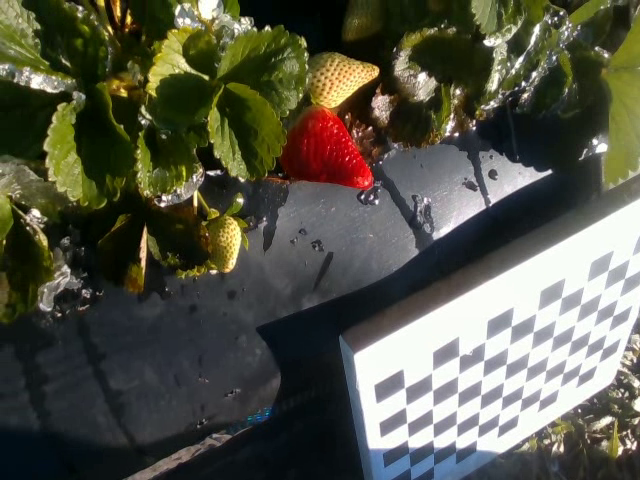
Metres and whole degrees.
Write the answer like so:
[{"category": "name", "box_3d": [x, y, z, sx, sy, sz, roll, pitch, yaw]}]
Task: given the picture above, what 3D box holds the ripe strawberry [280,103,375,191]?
[{"category": "ripe strawberry", "box_3d": [0.005, -0.040, 0.292, 0.053, 0.040, 0.042, 38, 8, 16]}]
